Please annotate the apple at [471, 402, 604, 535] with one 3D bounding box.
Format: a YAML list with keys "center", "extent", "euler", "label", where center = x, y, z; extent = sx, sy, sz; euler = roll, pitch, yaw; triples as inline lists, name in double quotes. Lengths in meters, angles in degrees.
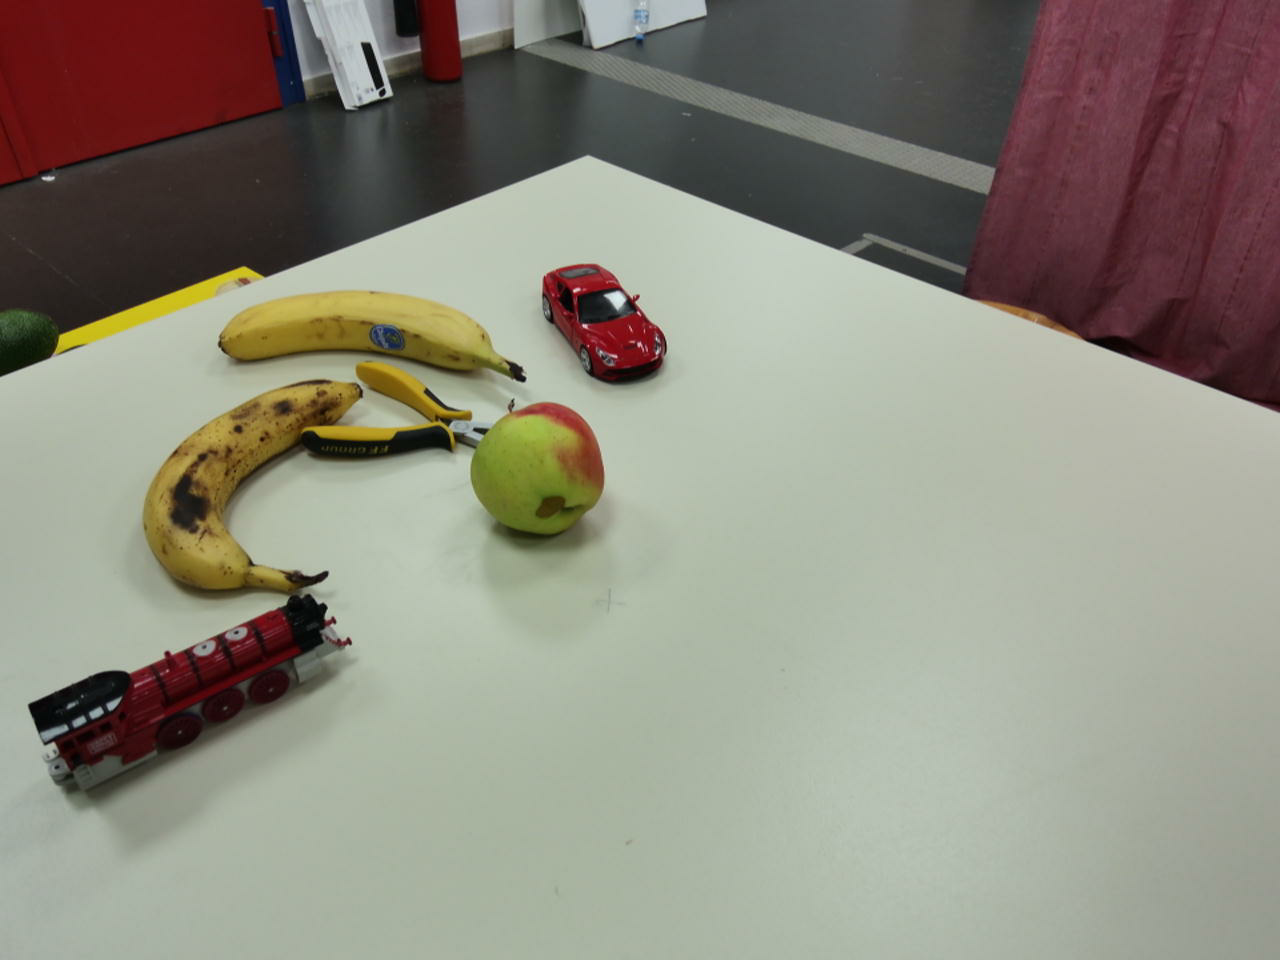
- center: [-0.057, -0.007, 0.576]
  extent: [0.075, 0.074, 0.075]
  euler: [15, 39, 17]
  label: "apple"
